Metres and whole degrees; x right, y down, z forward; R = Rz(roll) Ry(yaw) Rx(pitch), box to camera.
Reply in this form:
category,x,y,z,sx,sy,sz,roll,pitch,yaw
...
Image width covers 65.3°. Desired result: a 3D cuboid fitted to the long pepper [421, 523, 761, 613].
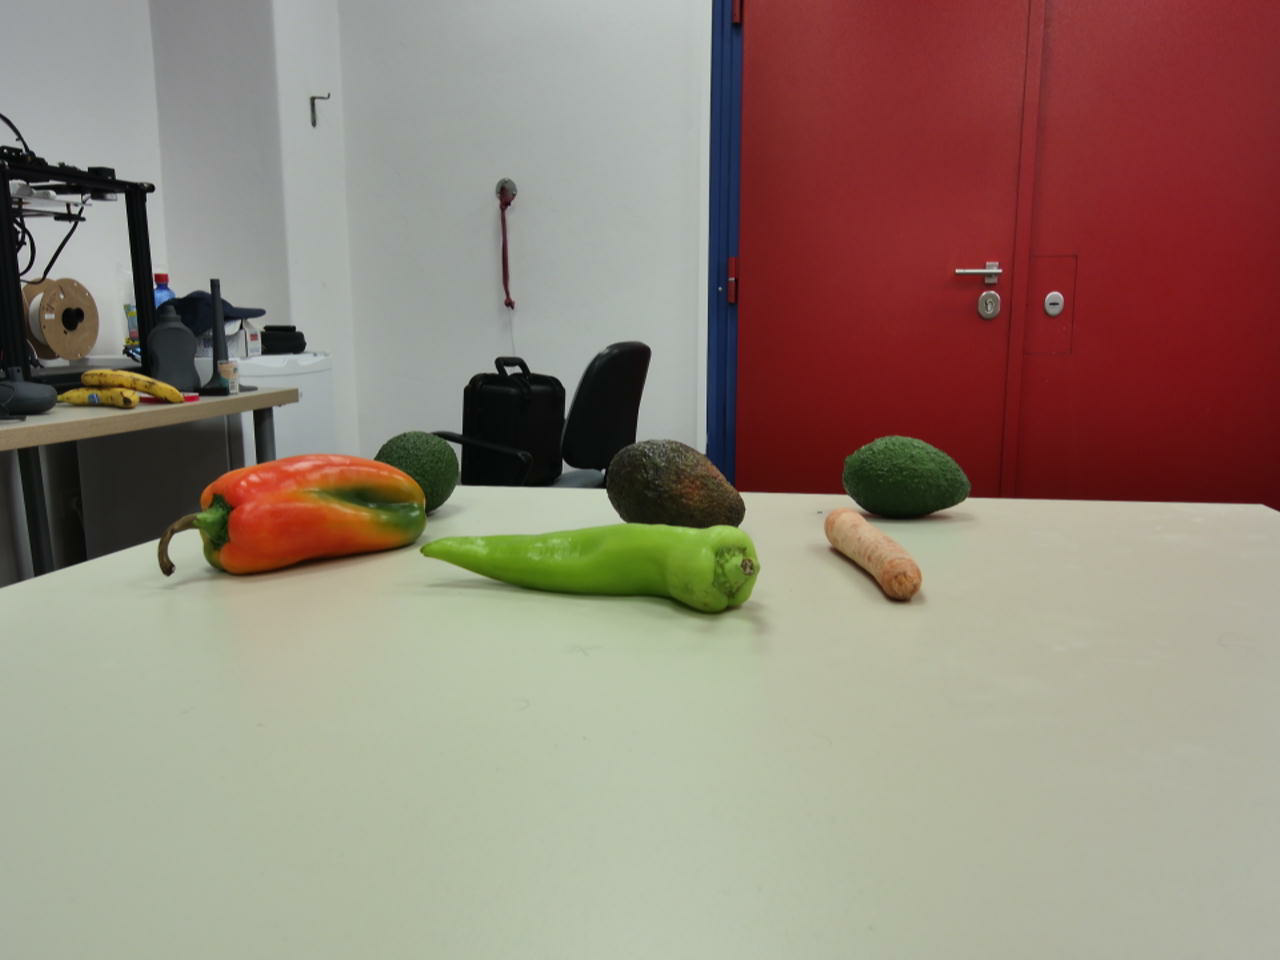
category,x,y,z,sx,sy,sz,roll,pitch,yaw
long pepper,-0.020,0.042,0.550,0.205,0.045,0.065,3,7,28
